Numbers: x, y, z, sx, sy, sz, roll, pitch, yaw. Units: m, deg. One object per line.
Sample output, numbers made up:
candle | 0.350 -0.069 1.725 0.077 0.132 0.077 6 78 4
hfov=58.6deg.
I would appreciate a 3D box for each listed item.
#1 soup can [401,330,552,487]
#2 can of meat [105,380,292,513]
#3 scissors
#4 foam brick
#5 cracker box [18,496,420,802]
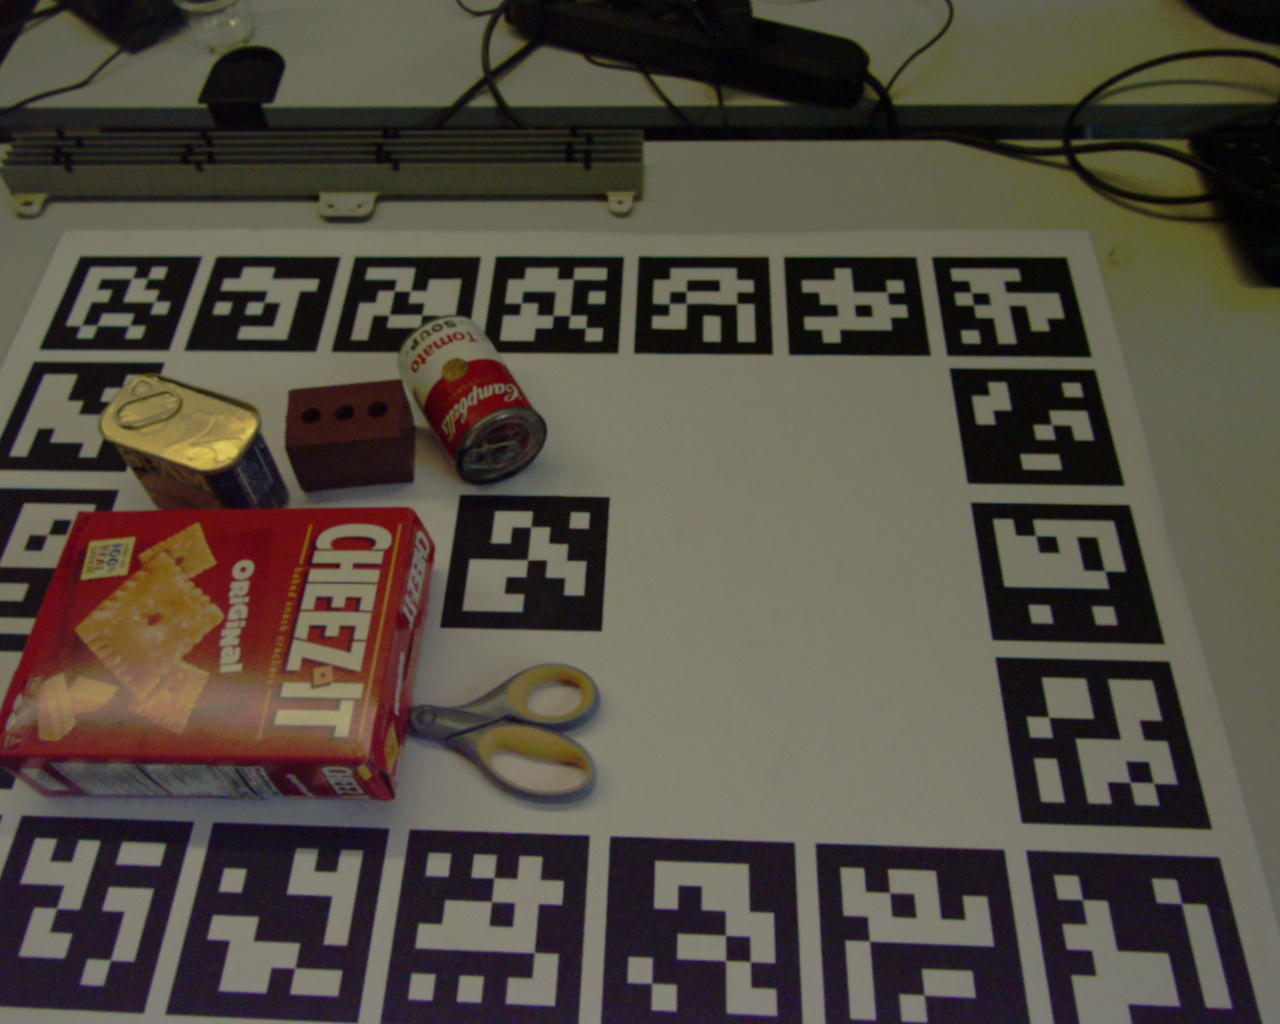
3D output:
soup can | -0.119 -0.076 0.817 0.067 0.067 0.103 -32 57 -16
can of meat | -0.298 -0.036 0.781 0.102 0.083 0.058 13 60 10
scissors | -0.134 0.127 0.698 0.203 0.016 0.088 -4 58 1
foam brick | -0.201 -0.053 0.808 0.078 0.051 0.053 -8 59 -3
cracker box | -0.250 0.080 0.697 0.214 0.071 0.165 -6 57 4
